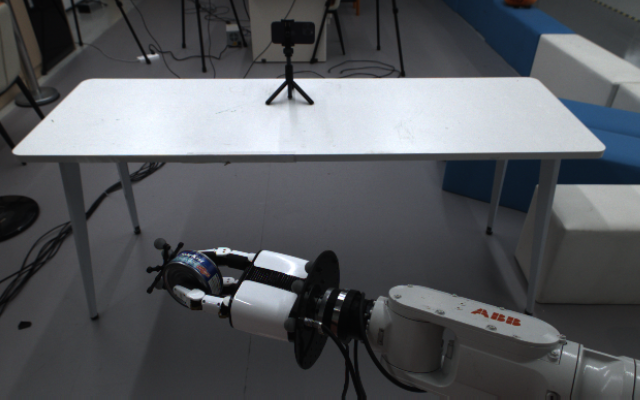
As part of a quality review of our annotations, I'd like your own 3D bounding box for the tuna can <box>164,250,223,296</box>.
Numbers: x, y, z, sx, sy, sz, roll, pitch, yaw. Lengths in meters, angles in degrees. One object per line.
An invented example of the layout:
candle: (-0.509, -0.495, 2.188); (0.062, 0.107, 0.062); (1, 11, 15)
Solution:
tuna can: (-0.184, 0.115, 0.708); (0.085, 0.085, 0.034); (14, 31, 16)
